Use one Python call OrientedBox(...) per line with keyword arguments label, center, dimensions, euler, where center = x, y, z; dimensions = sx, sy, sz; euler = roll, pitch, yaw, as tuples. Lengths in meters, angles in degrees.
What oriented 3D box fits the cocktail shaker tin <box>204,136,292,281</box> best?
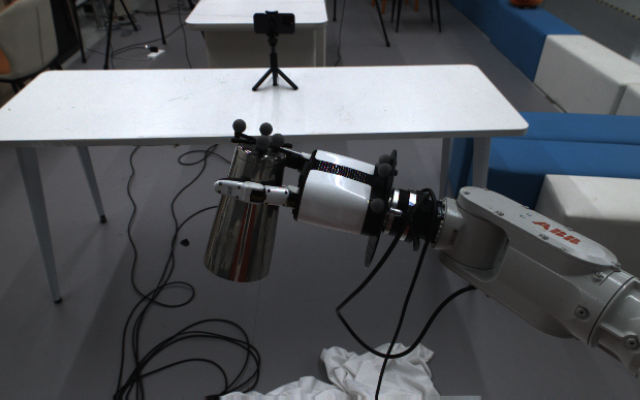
OrientedBox(label="cocktail shaker tin", center=(-0.094, 0.010, 0.649), dimensions=(0.093, 0.170, 0.093), euler=(14, 18, -5))
